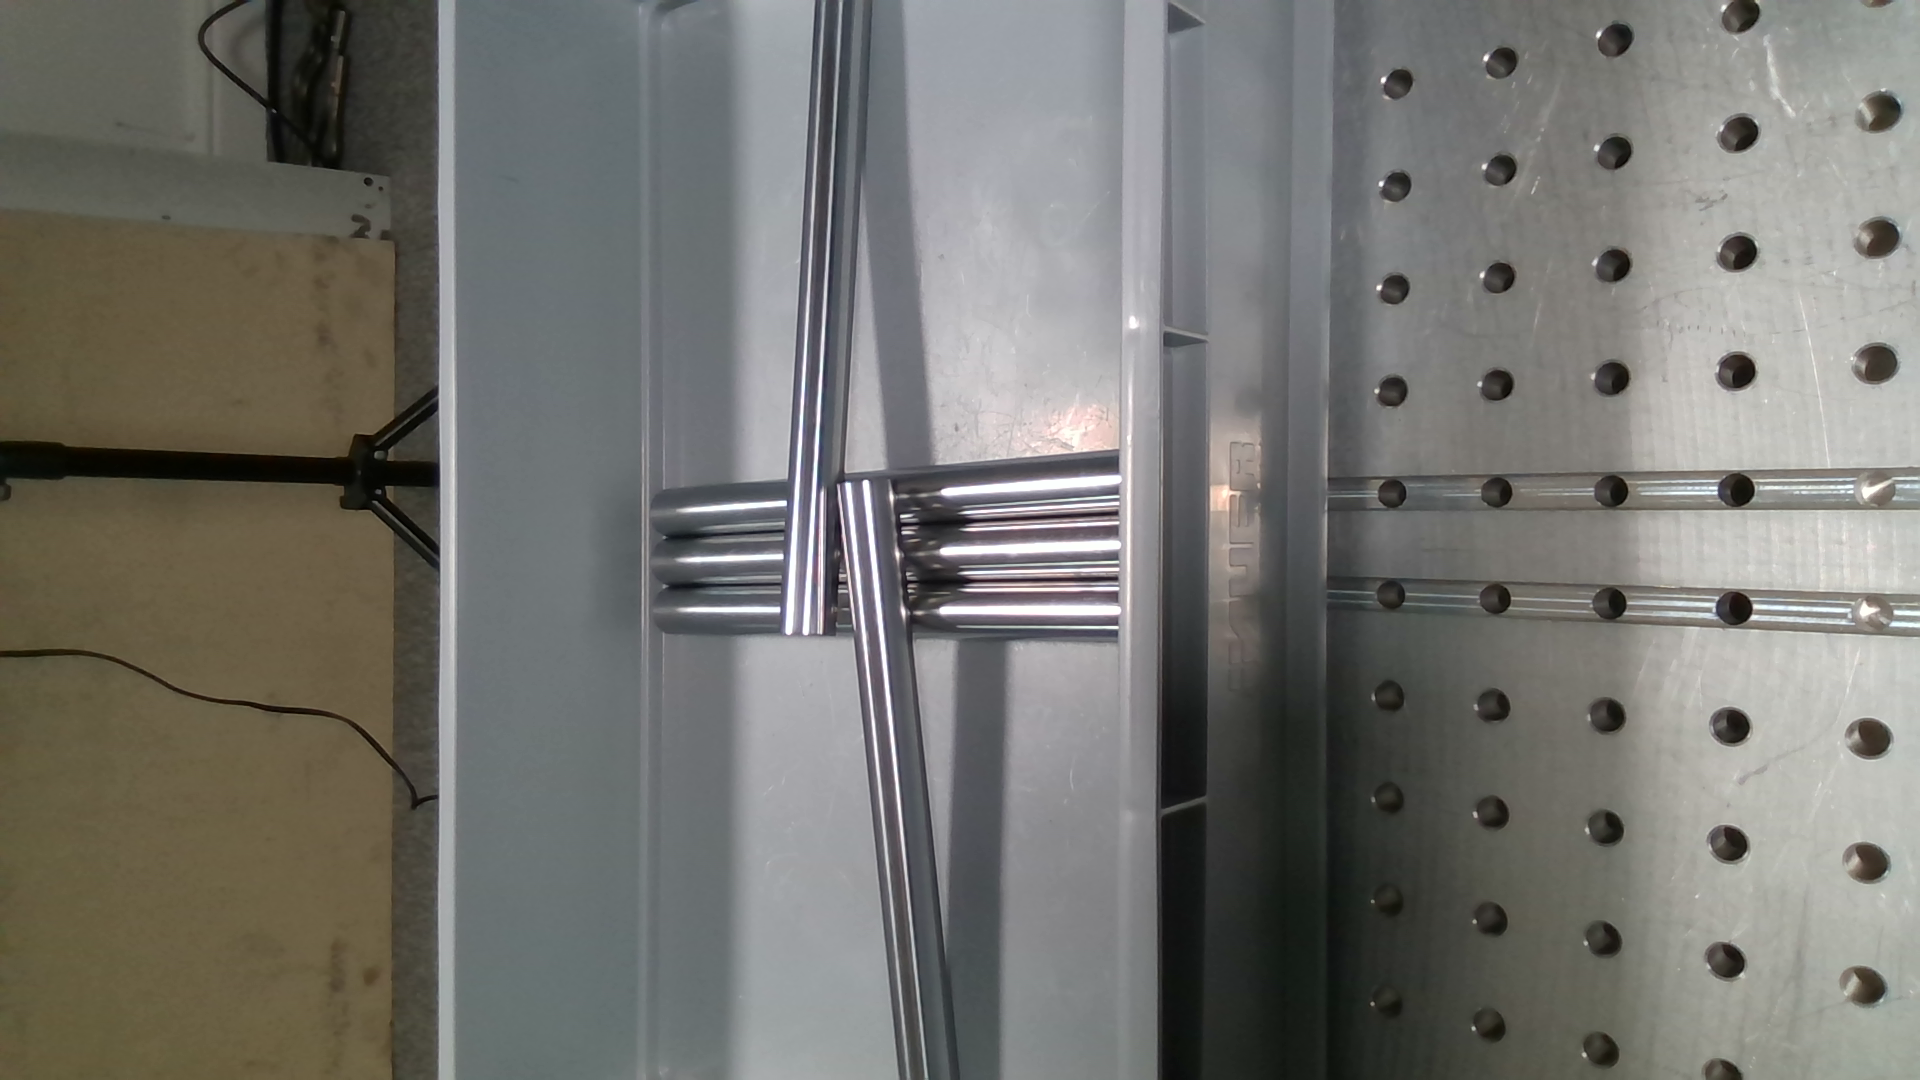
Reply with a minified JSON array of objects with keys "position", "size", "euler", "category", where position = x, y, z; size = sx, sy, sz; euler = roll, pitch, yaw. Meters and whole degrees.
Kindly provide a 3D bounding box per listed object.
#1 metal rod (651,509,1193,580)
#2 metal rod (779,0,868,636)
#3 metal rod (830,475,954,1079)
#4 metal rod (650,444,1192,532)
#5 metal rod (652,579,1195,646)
[{"position":[-0.034,0.005,0.610],"size":[0.300,0.025,0.025],"euler":[-2,89,40],"category":"metal rod"},{"position":[-0.060,-0.108,0.609],"size":[0.025,0.025,0.300],"euler":[-2,83,40],"category":"metal rod"},{"position":[-0.026,0.123,0.582],"size":[0.025,0.025,0.300],"euler":[-3,95,40],"category":"metal rod"},{"position":[-0.035,-0.019,0.610],"size":[0.300,0.025,0.025],"euler":[-2,89,40],"category":"metal rod"},{"position":[-0.033,0.031,0.609],"size":[0.300,0.025,0.025],"euler":[-2,89,40],"category":"metal rod"}]
